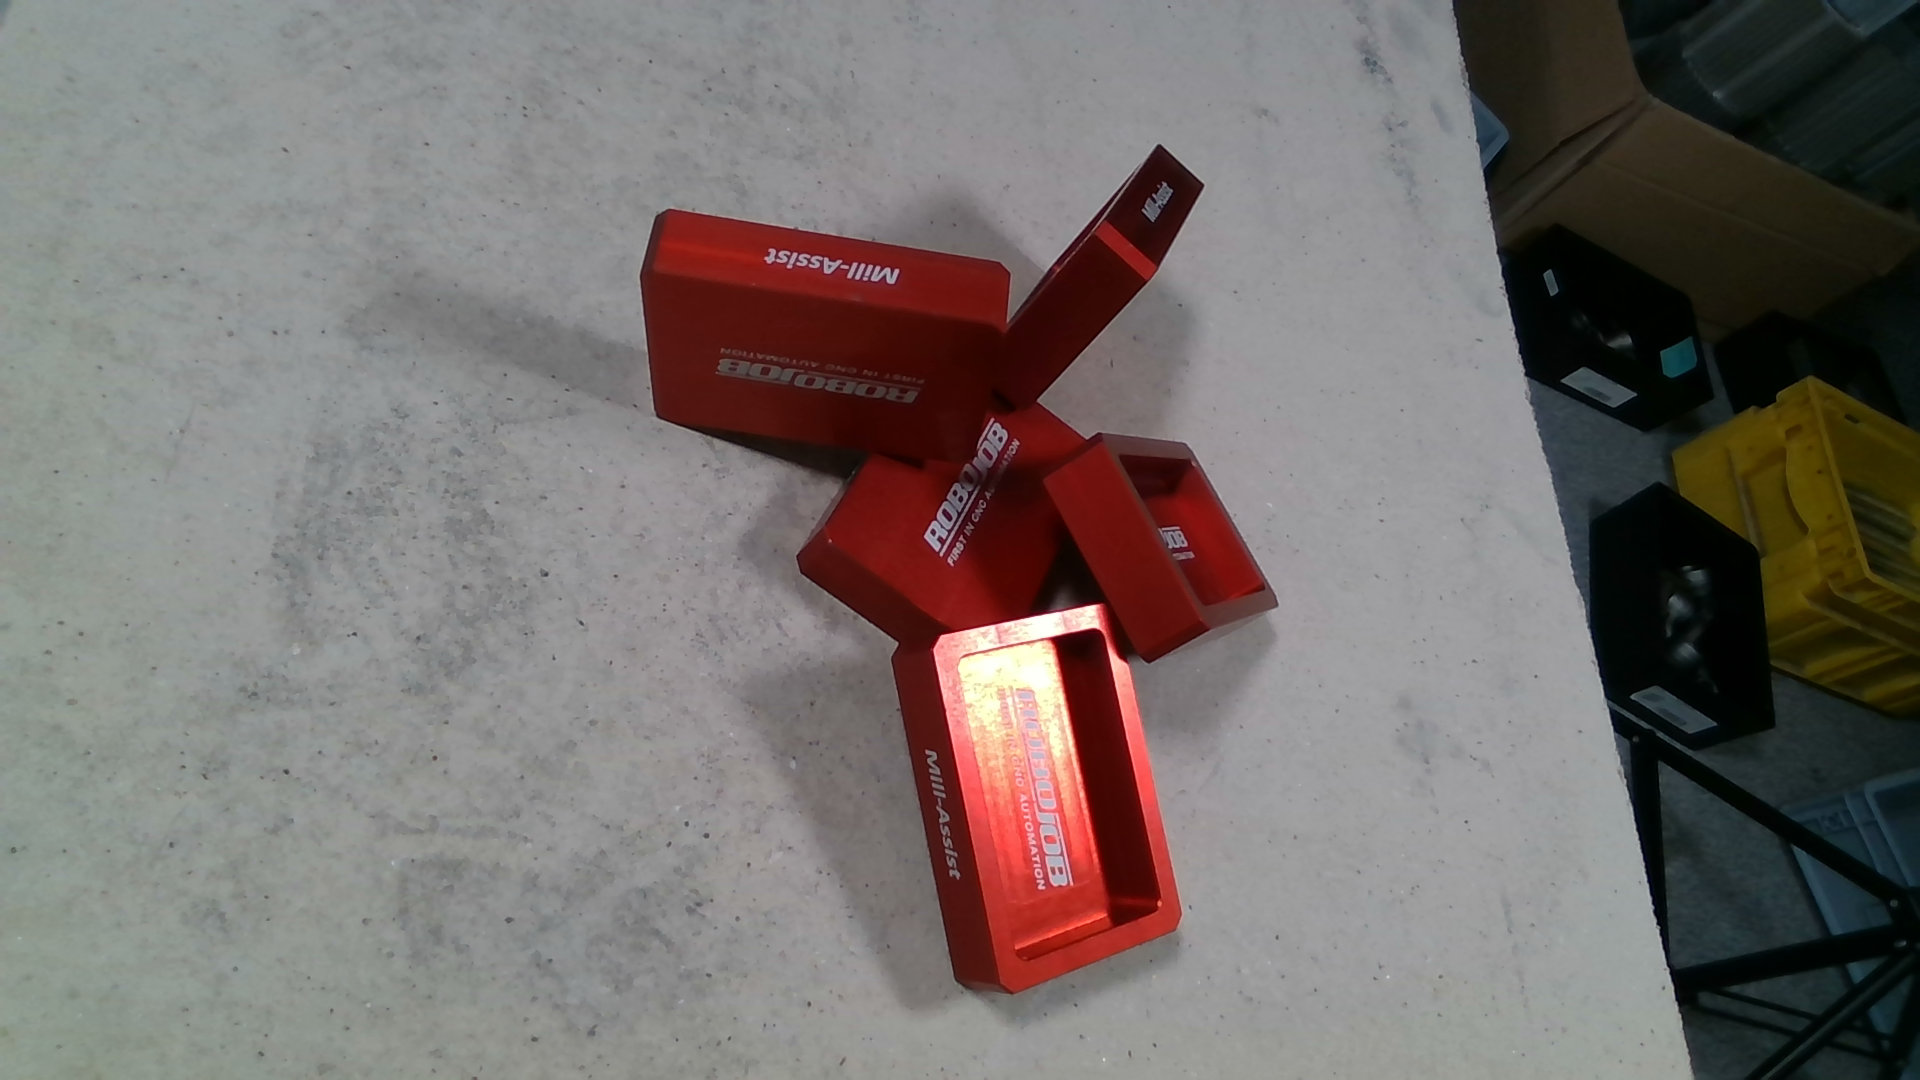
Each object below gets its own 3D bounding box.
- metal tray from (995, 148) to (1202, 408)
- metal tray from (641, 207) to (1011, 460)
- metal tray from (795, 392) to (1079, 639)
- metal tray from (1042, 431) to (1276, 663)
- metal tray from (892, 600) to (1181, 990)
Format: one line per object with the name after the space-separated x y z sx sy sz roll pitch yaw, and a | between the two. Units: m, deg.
0.060 -0.122 0.627 0.030 0.090 0.130 41 34 -6 | metal tray
-0.052 -0.076 0.528 0.130 0.090 0.030 8 59 -5 | metal tray
-0.002 -0.016 0.590 0.090 0.030 0.130 36 52 -10 | metal tray
0.091 0.001 0.601 0.090 0.030 0.130 62 23 10 | metal tray
0.030 0.095 0.530 0.090 0.030 0.130 -9 85 -35 | metal tray
